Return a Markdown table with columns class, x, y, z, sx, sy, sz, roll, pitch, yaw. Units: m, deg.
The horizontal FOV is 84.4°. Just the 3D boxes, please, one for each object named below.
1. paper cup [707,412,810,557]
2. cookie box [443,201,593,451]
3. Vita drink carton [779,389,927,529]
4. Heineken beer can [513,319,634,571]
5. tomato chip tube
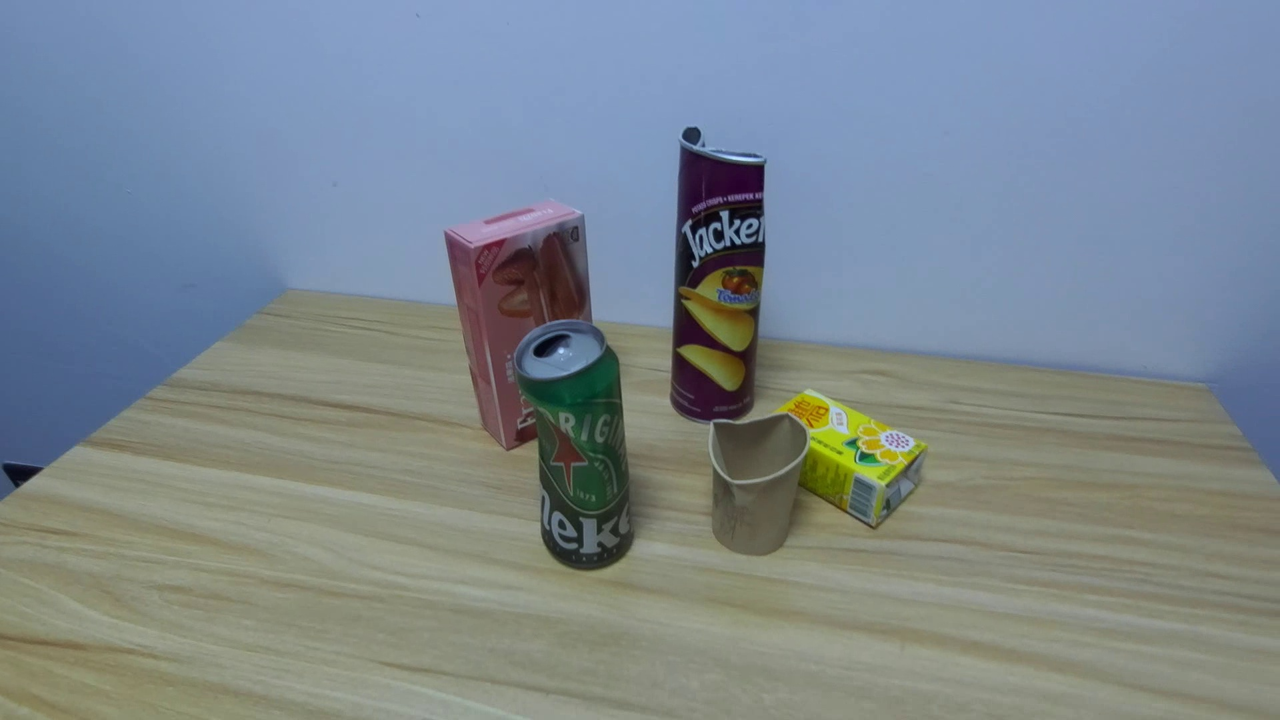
| class | x | y | z | sx | sy | sz | roll | pitch | yaw |
| --- | --- | --- | --- | --- | --- | --- | --- | --- | --- |
| paper cup | 0.081 | 0.088 | 0.485 | 0.072 | 0.084 | 0.066 | -7 | 34 | -7 |
| cookie box | -0.090 | -0.026 | 0.577 | 0.096 | 0.185 | 0.048 | -24 | 38 | -31 |
| Vita drink carton | 0.154 | 0.072 | 0.547 | 0.067 | 0.043 | 0.108 | -27 | 41 | -36 |
| Heineken beer can | -0.041 | 0.060 | 0.461 | 0.069 | 0.168 | 0.068 | 4 | 36 | 13 |
| tomato chip tube | 0.064 | -0.062 | 0.574 | 0.076 | 0.235 | 0.078 | 7 | 34 | 13 |
